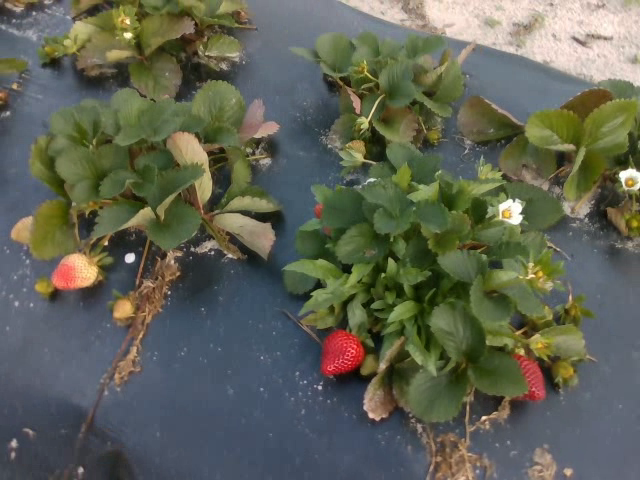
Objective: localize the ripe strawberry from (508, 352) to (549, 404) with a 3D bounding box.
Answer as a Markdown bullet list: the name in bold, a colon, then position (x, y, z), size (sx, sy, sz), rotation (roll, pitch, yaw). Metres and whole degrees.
- **ripe strawberry**: position (0.177, 0.123, 0.534), size (0.046, 0.043, 0.047), rotation (45, -4, 46)

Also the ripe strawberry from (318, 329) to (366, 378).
- **ripe strawberry**: position (0.016, 0.105, 0.548), size (0.043, 0.051, 0.043), rotation (32, -32, 15)
